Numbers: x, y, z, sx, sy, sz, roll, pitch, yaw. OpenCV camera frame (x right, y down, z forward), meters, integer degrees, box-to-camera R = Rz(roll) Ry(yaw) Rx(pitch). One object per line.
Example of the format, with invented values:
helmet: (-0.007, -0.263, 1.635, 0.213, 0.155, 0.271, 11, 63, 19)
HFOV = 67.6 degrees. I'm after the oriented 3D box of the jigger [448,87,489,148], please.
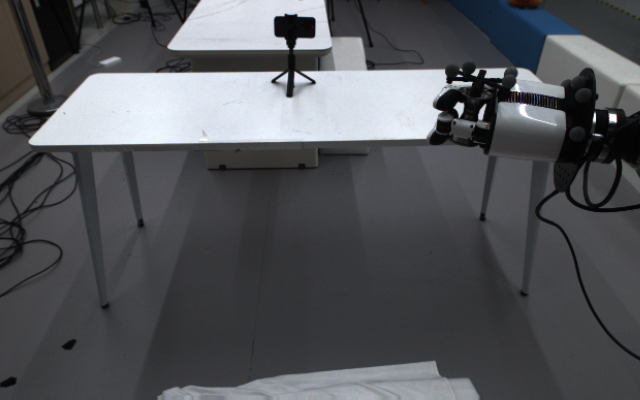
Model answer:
jigger: (0.205, -0.113, 0.655, 0.043, 0.071, 0.043, 4, 31, -2)
